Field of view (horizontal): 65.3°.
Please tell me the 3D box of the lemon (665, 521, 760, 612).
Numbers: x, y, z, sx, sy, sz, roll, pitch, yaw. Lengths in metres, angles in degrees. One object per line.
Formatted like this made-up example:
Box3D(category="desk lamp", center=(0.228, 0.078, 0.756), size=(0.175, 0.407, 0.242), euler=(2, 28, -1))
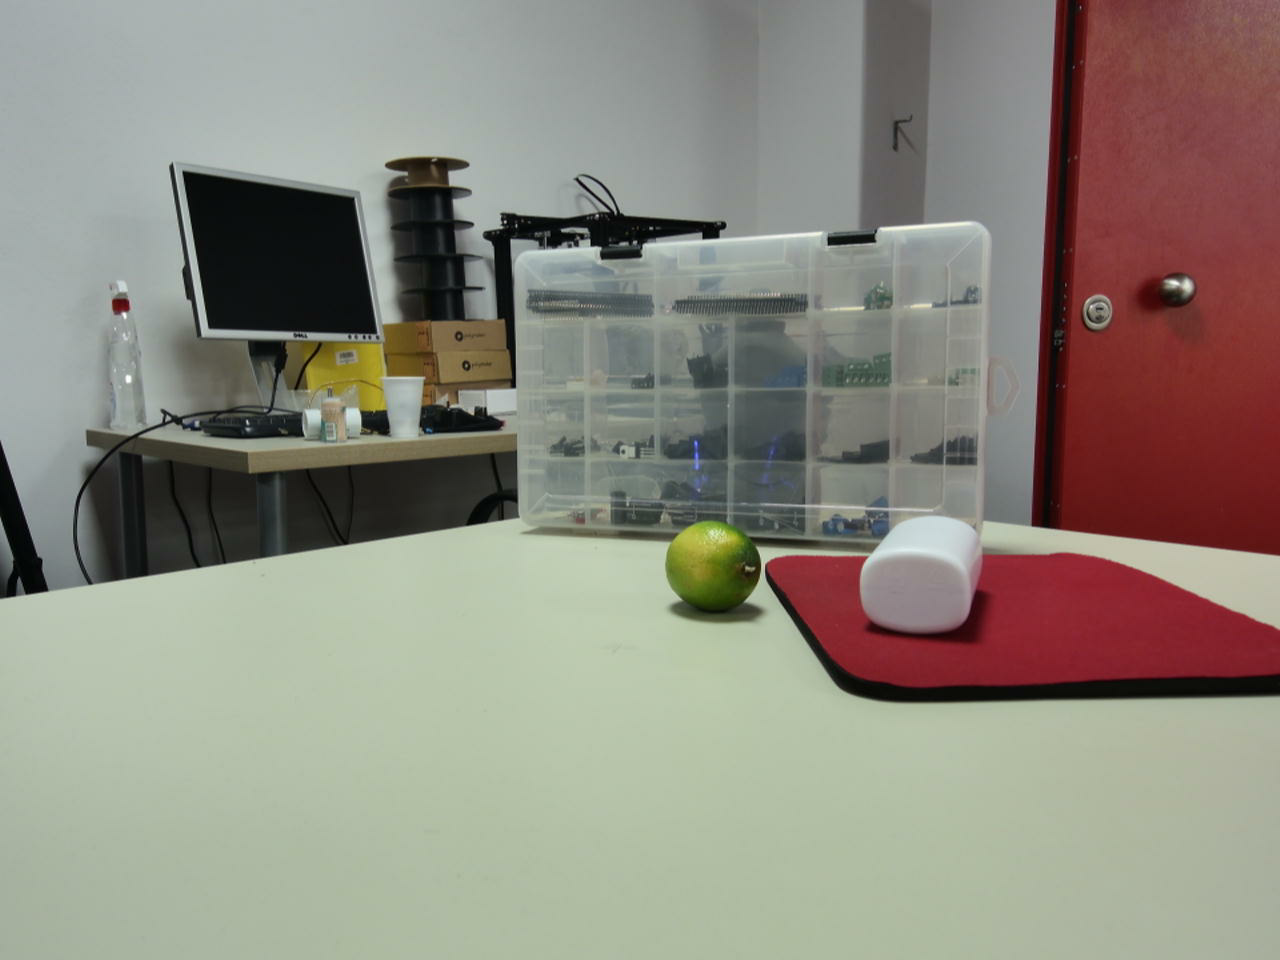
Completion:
Box3D(category="lemon", center=(0.042, 0.049, 0.574), size=(0.054, 0.050, 0.055), euler=(0, 5, 7))
